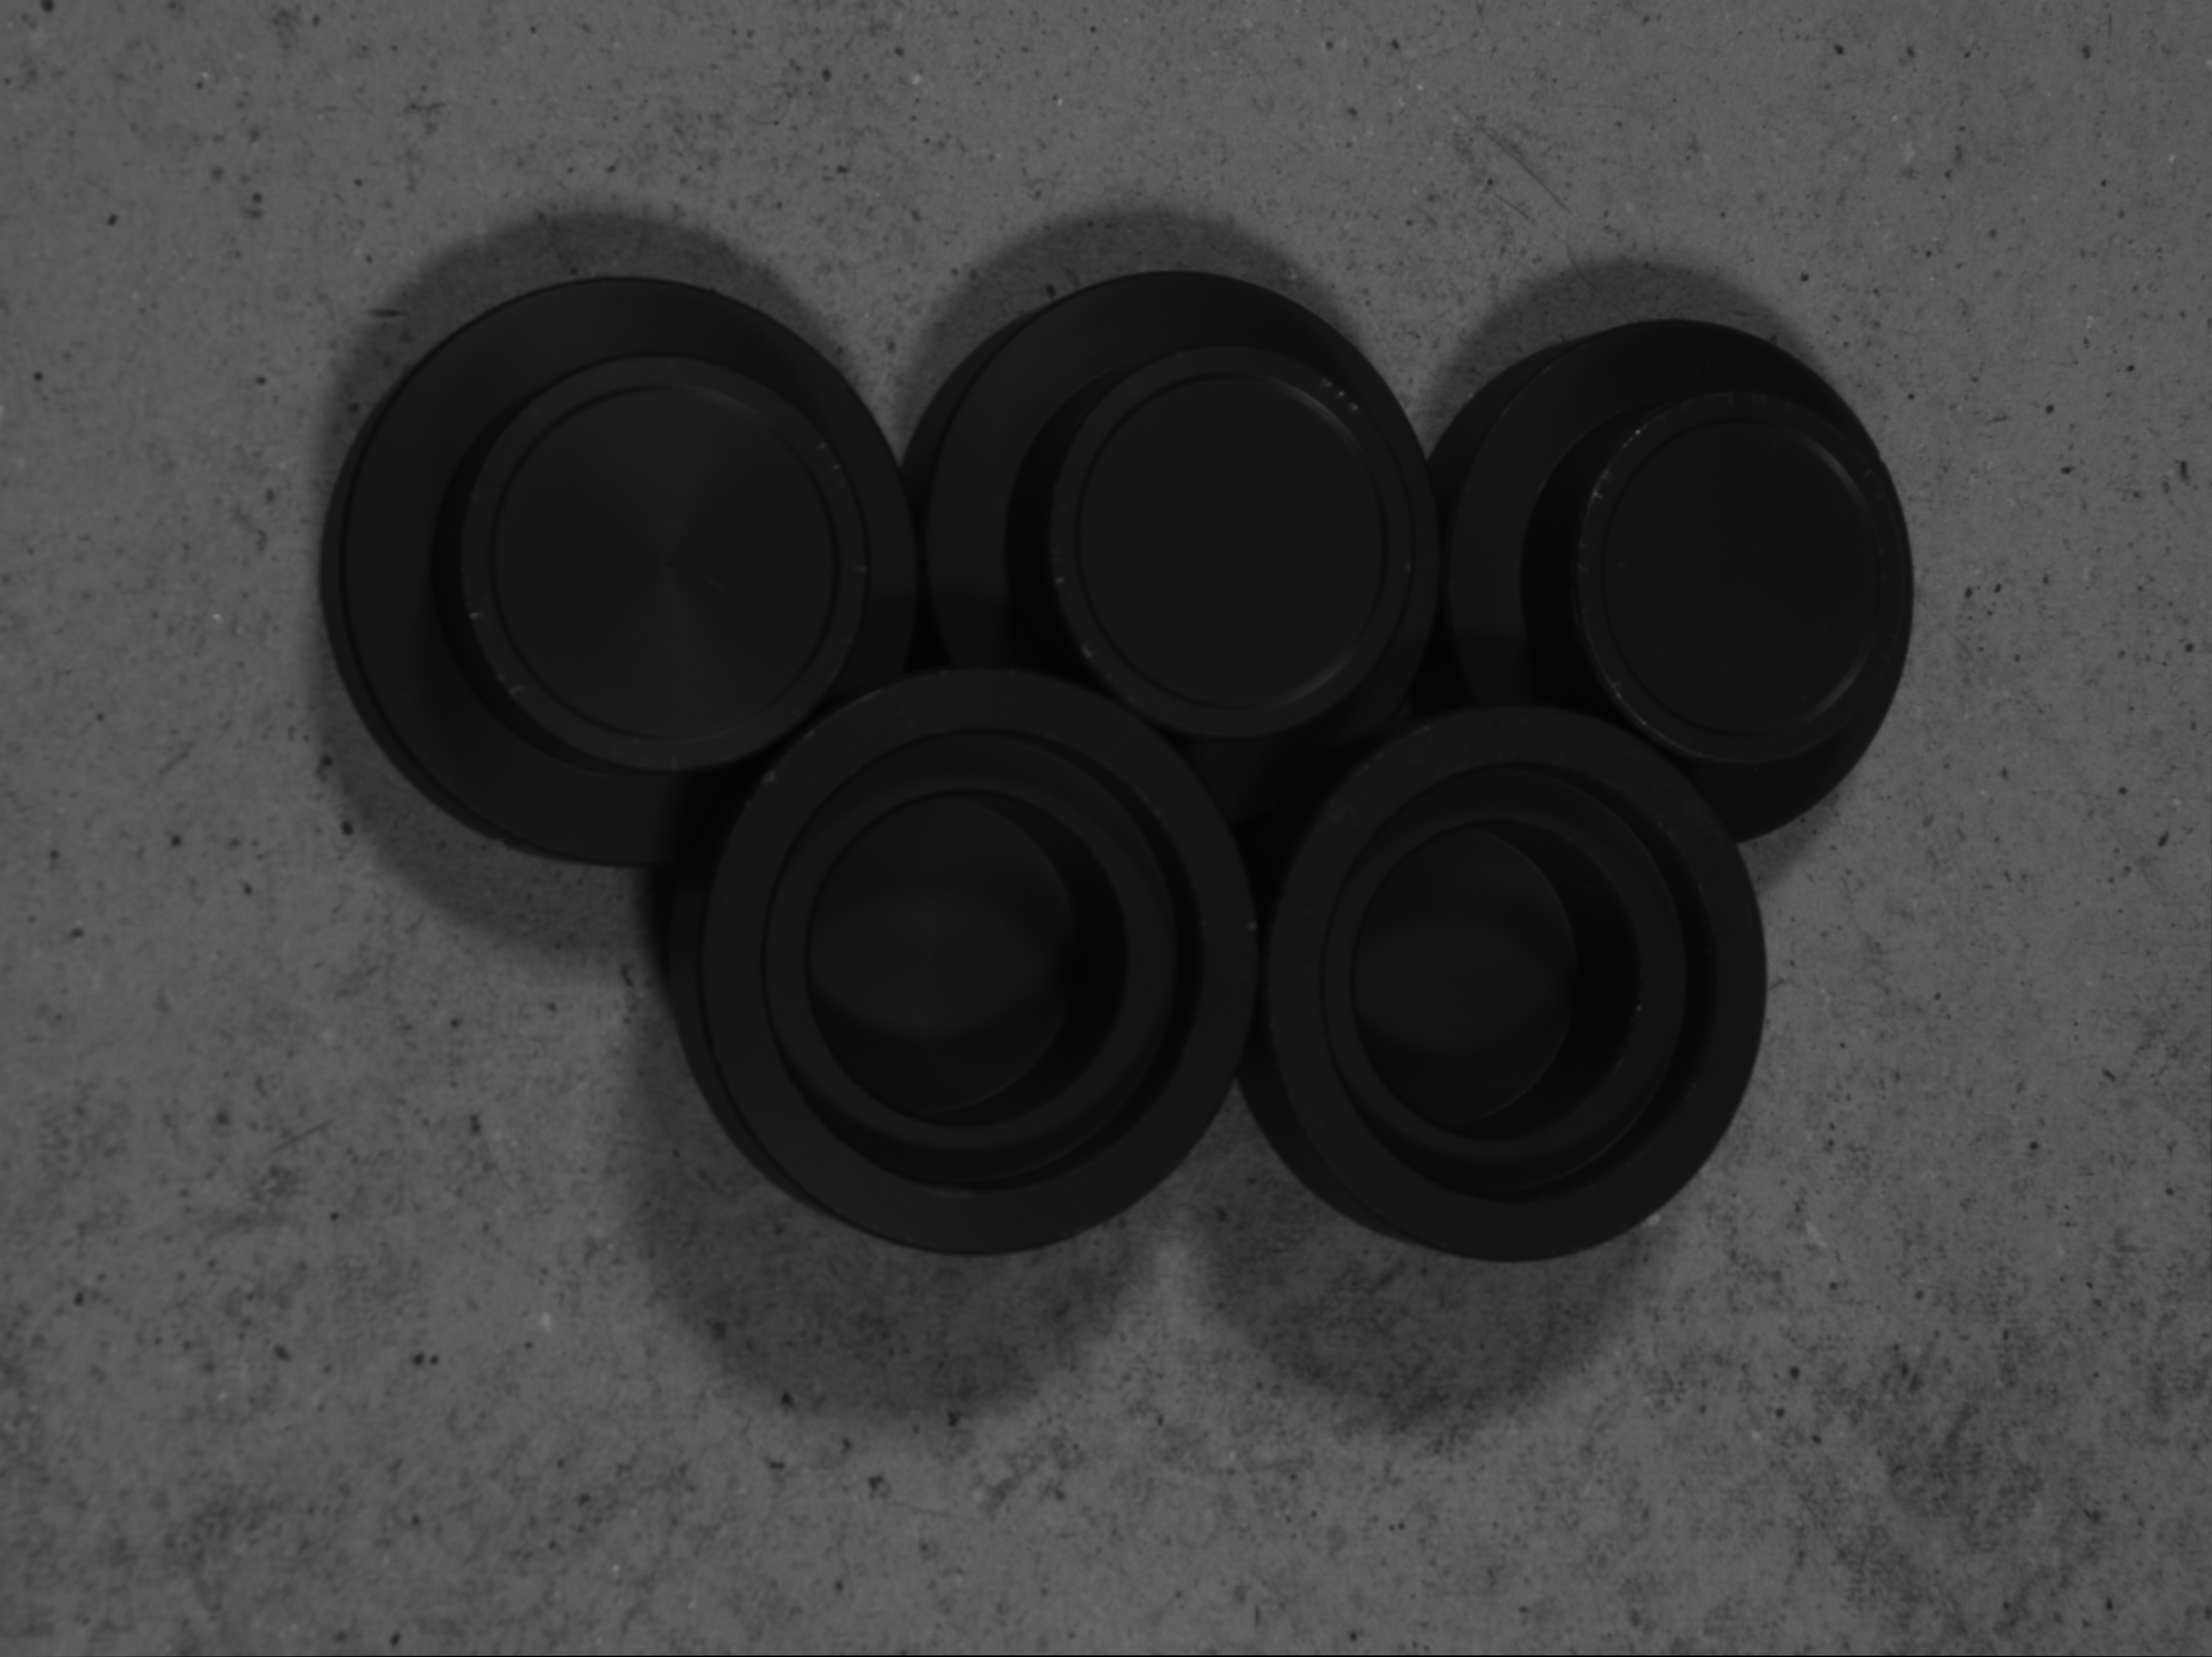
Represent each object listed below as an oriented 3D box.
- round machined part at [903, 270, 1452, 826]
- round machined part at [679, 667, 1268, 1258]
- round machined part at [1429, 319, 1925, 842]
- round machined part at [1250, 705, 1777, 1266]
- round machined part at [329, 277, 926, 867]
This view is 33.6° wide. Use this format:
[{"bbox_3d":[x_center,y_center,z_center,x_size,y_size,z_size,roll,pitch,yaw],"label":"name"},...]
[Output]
[{"bbox_3d":[0.016,-0.049,0.641,0.098,0.042,0.098,0,90,-20],"label":"round machined part"},{"bbox_3d":[-0.025,0.022,0.625,0.098,0.042,0.098,0,90,-20],"label":"round machined part"},{"bbox_3d":[0.109,-0.045,0.674,0.098,0.042,0.098,0,90,-20],"label":"round machined part"},{"bbox_3d":[0.068,0.028,0.659,0.098,0.042,0.098,0,90,-20],"label":"round machined part"},{"bbox_3d":[-0.076,-0.043,0.607,0.098,0.042,0.098,0,90,-20],"label":"round machined part"}]
